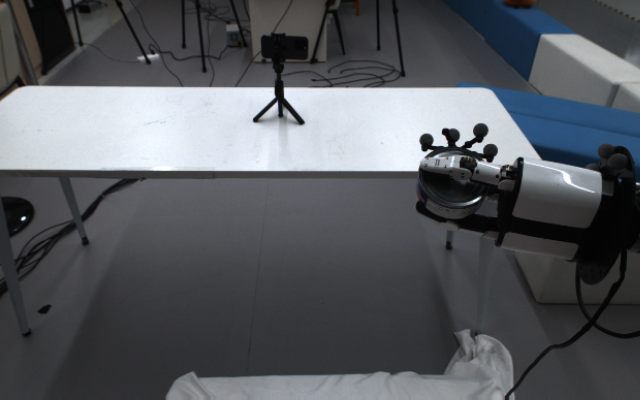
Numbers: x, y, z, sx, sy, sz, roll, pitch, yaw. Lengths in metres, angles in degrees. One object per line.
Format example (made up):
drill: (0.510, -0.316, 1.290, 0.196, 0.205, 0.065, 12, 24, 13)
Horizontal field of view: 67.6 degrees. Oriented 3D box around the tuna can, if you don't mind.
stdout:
tuna can: (0.161, -0.026, 0.586, 0.085, 0.034, 0.085, -2, 56, 3)
